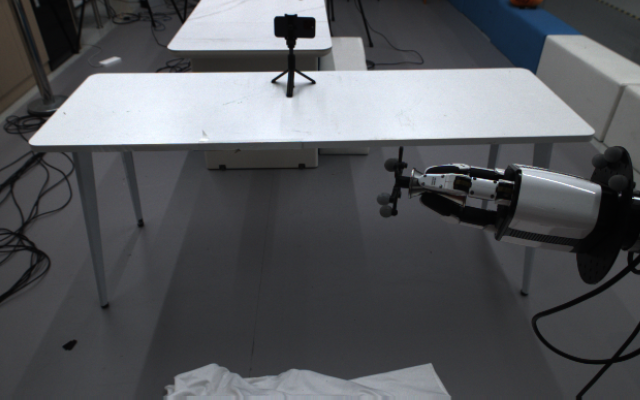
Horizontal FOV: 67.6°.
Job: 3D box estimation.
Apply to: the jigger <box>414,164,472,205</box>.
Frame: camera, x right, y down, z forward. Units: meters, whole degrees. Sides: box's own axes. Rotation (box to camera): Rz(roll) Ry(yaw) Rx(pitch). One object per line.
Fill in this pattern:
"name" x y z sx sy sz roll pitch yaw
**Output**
"jigger" 0.153 -0.021 0.598 0.071 0.043 0.043 8 35 16
